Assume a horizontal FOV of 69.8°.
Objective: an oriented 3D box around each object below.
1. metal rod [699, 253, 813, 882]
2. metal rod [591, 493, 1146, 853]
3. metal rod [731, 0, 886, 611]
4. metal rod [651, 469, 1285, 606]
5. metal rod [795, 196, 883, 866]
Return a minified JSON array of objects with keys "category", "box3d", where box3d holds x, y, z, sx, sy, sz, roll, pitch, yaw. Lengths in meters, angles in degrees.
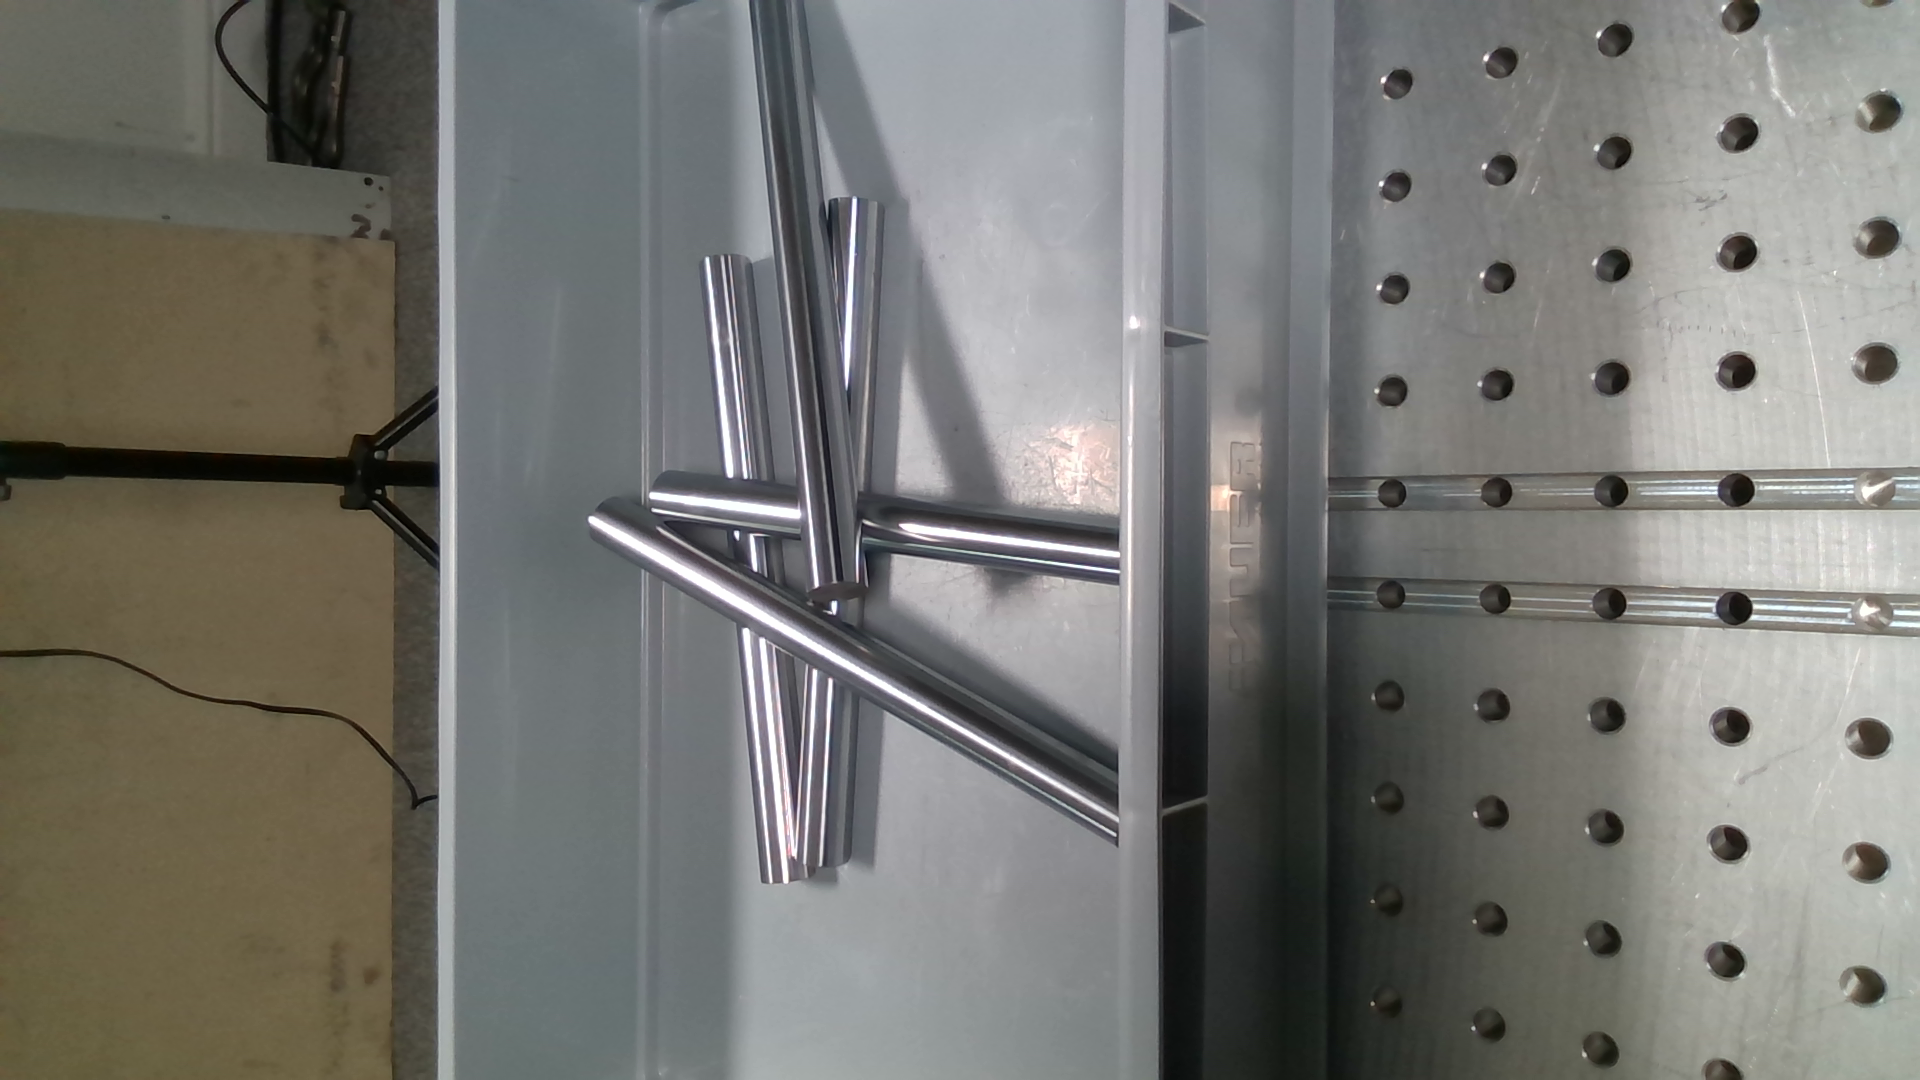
[{"category":"metal rod","box3d":[-0.099,0.011,0.664,0.025,0.025,0.300,-11,84,40]},{"category":"metal rod","box3d":[-0.053,0.049,0.600,0.300,0.025,0.025,27,108,29]},{"category":"metal rod","box3d":[-0.069,-0.116,0.605,0.025,0.025,0.299,-24,70,38]},{"category":"metal rod","box3d":[-0.013,-0.005,0.569,0.300,0.025,0.025,8,95,34]},{"category":"metal rod","box3d":[-0.056,-0.002,0.627,0.025,0.025,0.300,6,95,40]}]
